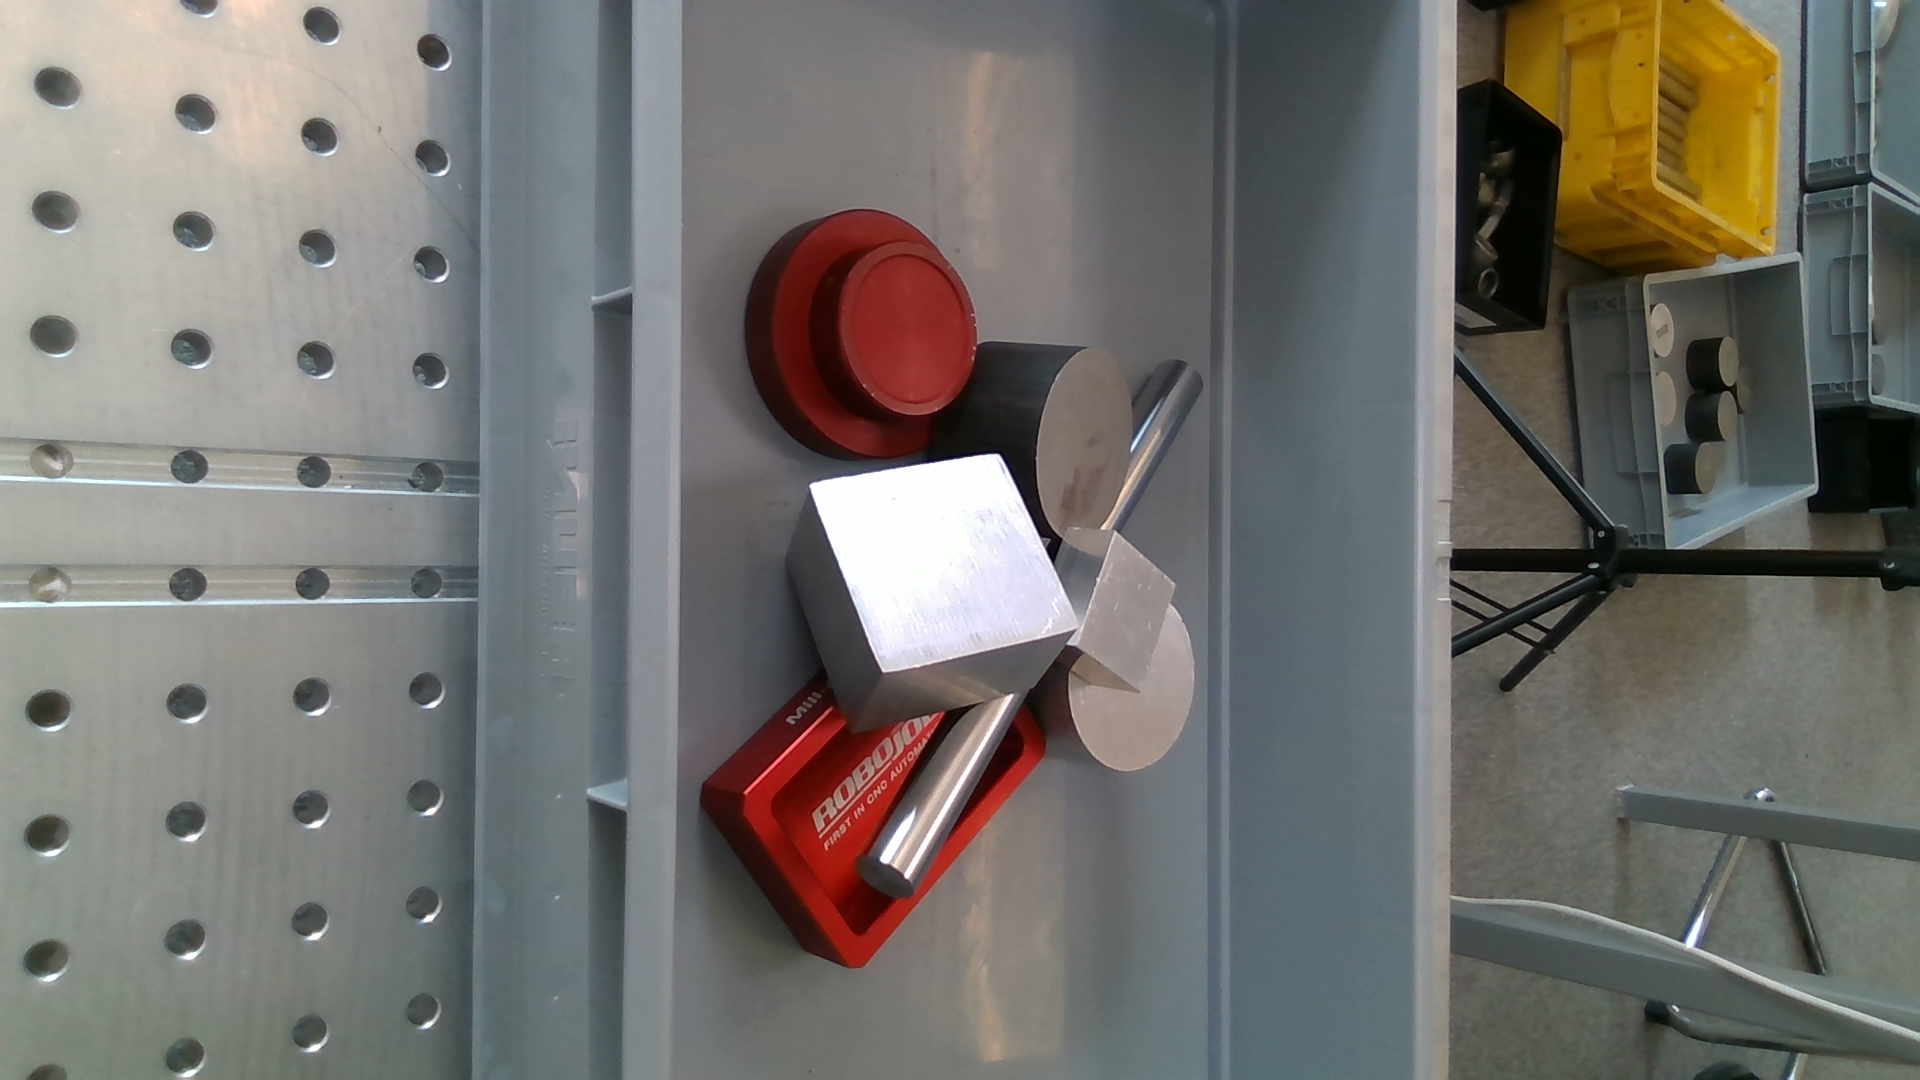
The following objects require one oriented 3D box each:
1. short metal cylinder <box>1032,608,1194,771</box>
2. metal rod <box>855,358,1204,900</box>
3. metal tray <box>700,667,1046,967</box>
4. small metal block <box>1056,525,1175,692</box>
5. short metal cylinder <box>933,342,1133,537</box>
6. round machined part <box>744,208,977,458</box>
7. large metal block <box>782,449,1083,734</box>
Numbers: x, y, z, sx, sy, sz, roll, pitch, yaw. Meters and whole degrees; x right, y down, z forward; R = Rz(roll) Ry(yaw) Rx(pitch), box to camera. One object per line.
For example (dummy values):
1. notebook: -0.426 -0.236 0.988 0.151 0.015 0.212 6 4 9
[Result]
1. short metal cylinder: 0.059 0.060 0.617 0.080 0.050 0.080 0 90 -40
2. metal rod: 0.040 0.022 0.584 0.025 0.025 0.299 55 49 -26
3. metal tray: -0.030 0.092 0.553 0.130 0.030 0.090 -44 117 -31
4. small metal block: 0.058 0.028 0.562 0.050 0.025 0.050 37 67 -43
5. short metal cylinder: 0.032 -0.042 0.578 0.080 0.050 0.080 -20 114 -53
6. round machined part: -0.032 -0.081 0.543 0.098 0.042 0.098 0 90 -40
7. large metal block: -0.012 0.018 0.521 0.080 0.050 0.080 -11 63 -26
